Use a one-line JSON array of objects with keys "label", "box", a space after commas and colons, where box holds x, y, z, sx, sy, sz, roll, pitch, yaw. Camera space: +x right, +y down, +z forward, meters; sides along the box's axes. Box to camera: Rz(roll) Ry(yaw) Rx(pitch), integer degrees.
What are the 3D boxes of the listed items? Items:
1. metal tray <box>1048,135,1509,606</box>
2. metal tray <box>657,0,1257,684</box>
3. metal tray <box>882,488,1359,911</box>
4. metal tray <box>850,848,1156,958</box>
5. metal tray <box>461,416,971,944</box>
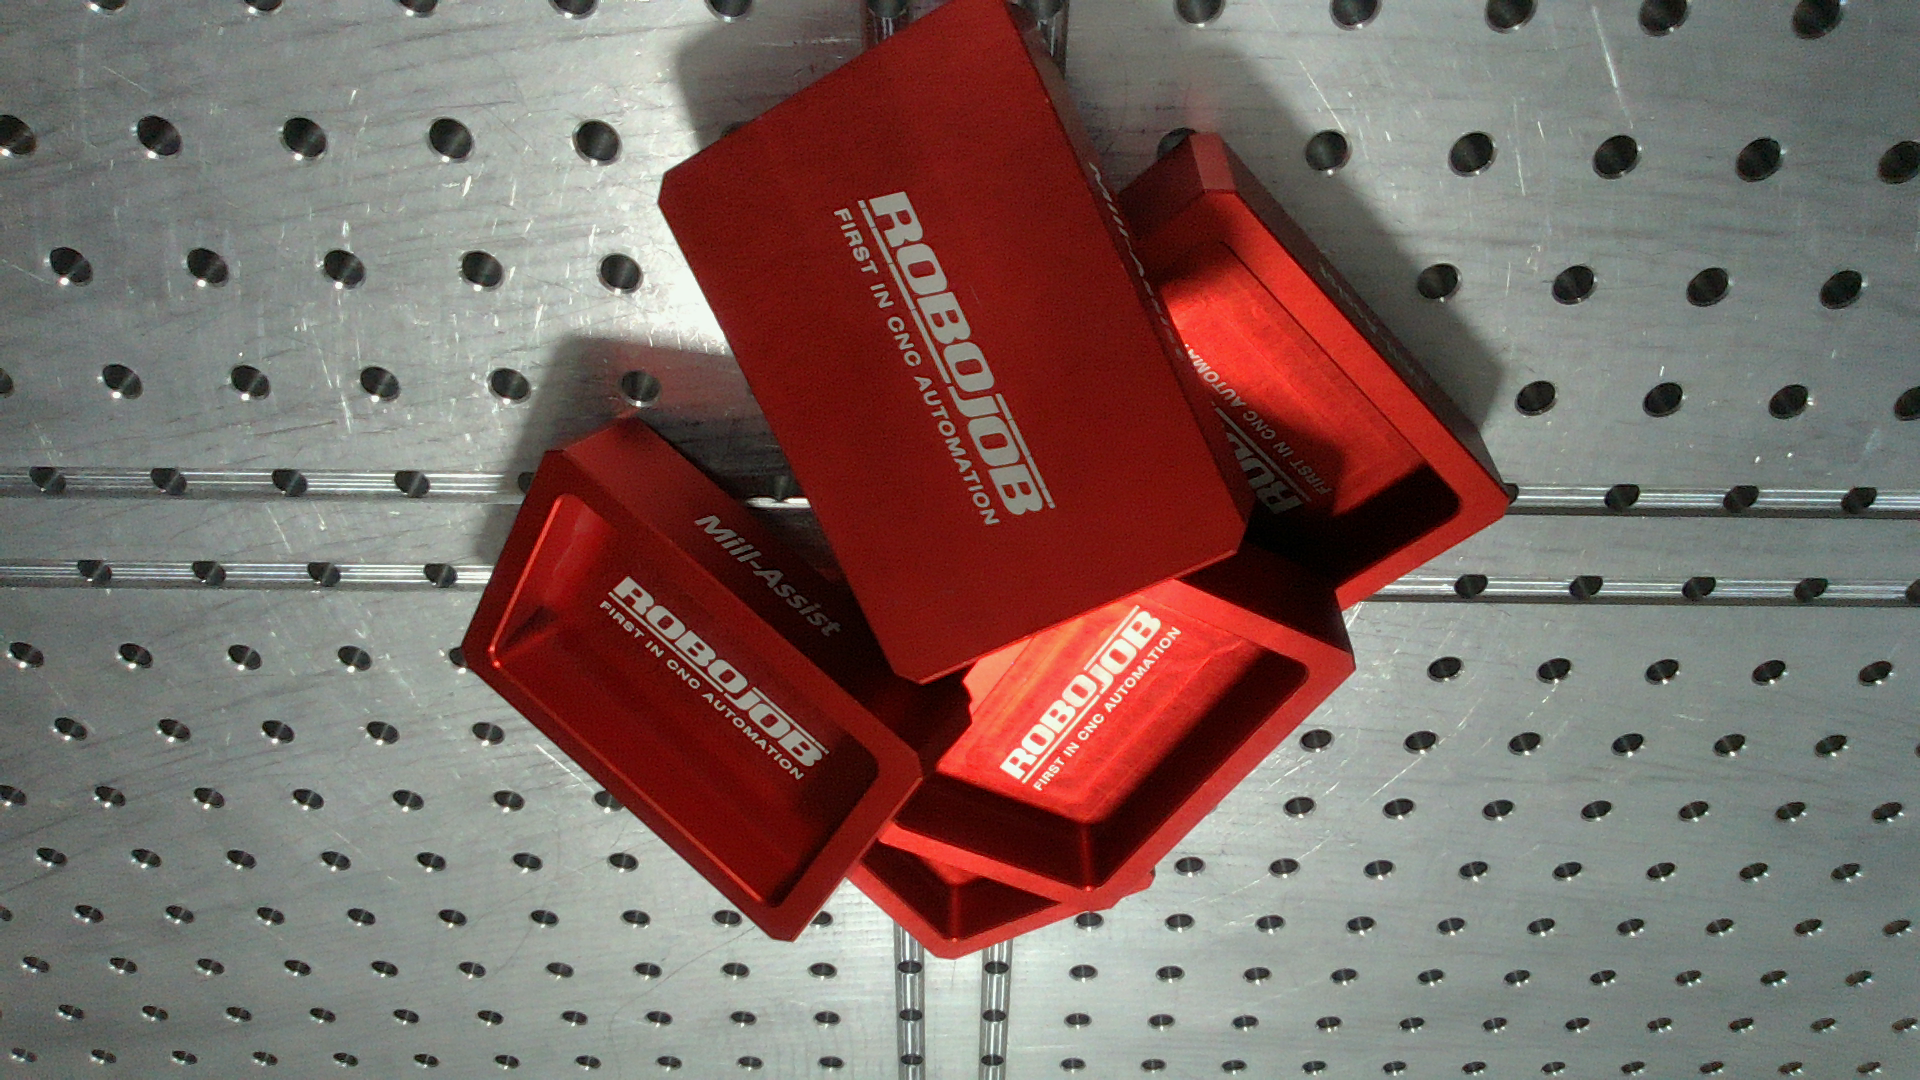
[{"label": "metal tray", "box": [0.071, -0.030, 0.365, 0.090, 0.030, 0.130, -36, 122, 26]}, {"label": "metal tray", "box": [0.001, -0.043, 0.314, 0.090, 0.030, 0.130, -24, 96, 19]}, {"label": "metal tray", "box": [0.037, 0.049, 0.392, 0.090, 0.030, 0.130, 22, 127, -18]}, {"label": "metal tray", "box": [-0.004, 0.084, 0.461, 0.090, 0.030, 0.130, -26, 125, 20]}, {"label": "metal tray", "box": [-0.071, 0.040, 0.384, 0.130, 0.030, 0.090, 40, 125, 7]}]
